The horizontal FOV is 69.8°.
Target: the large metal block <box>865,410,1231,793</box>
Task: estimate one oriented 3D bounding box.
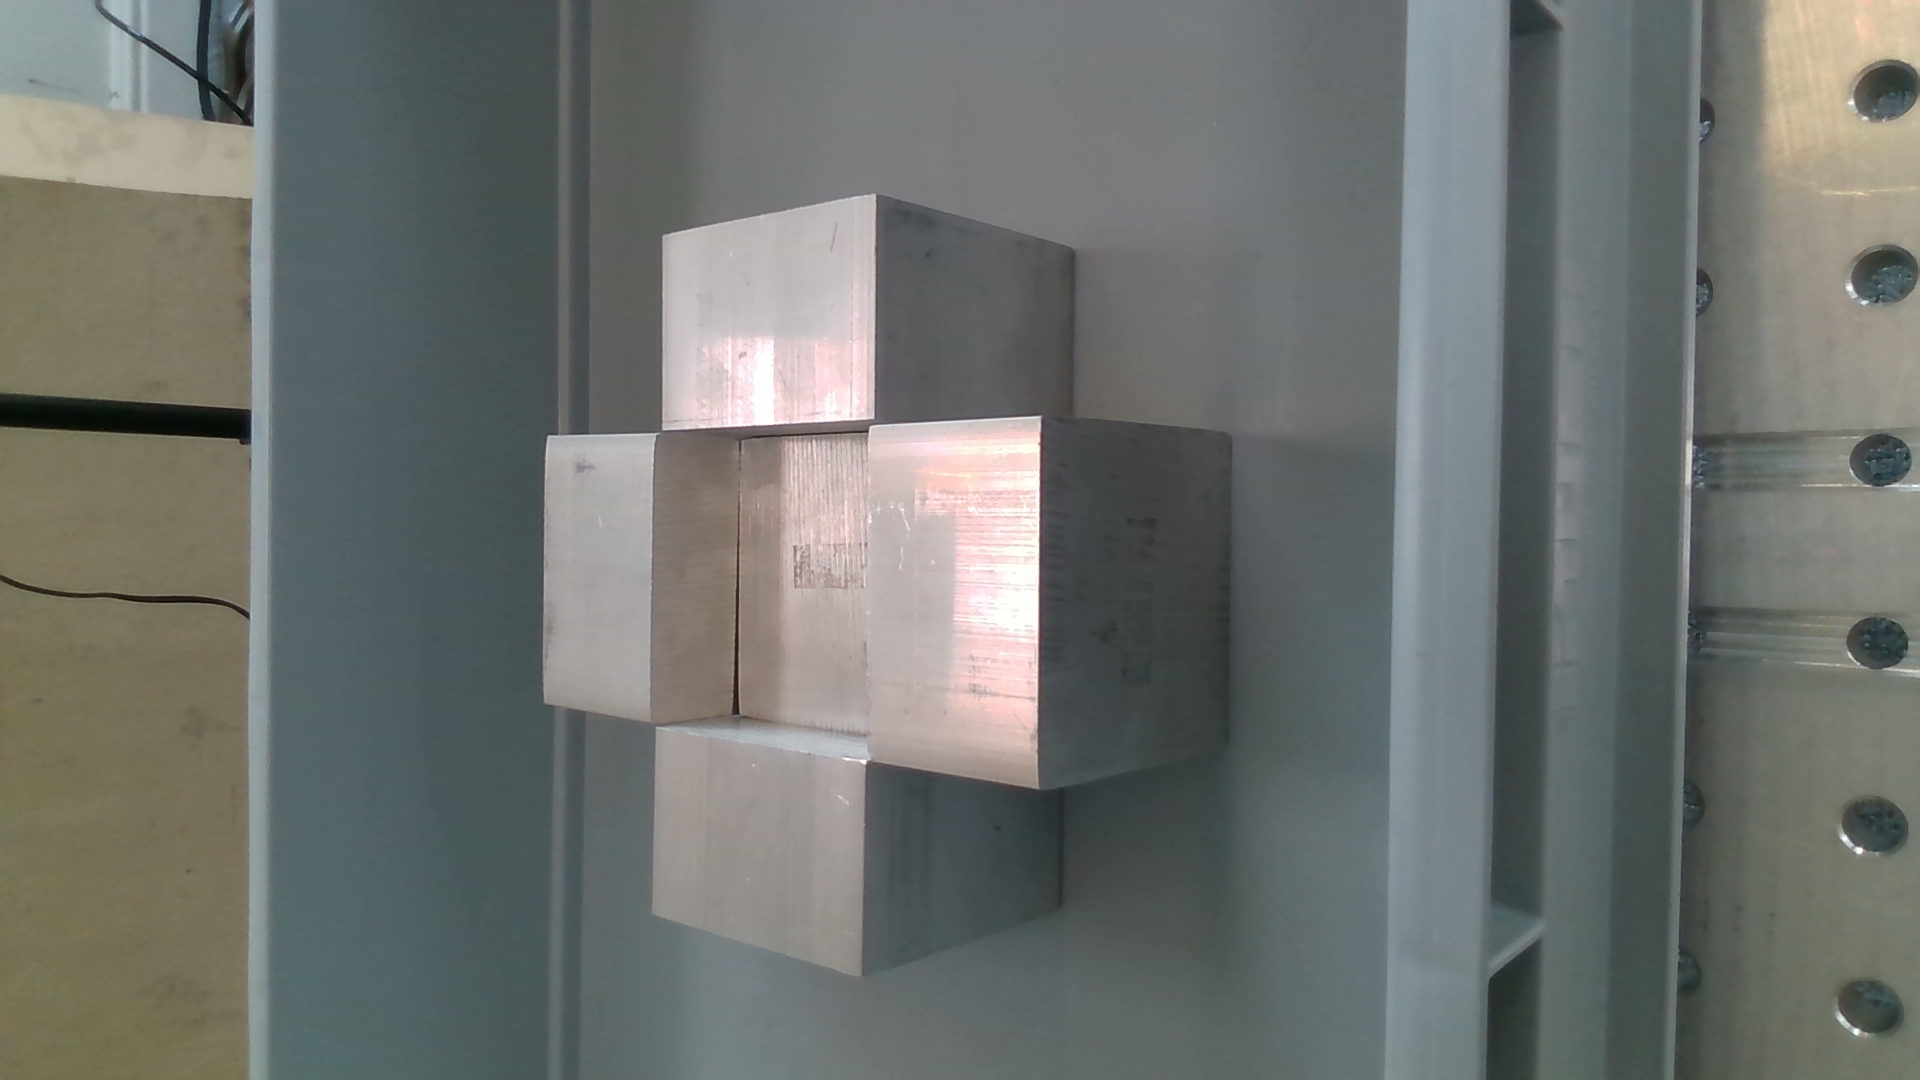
[{"bbox_3d":[0.023,0.013,0.334,0.050,0.080,0.080,1,91,40],"label":"large metal block"}]

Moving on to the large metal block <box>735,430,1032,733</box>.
[{"bbox_3d":[-0.018,0.011,0.387,0.080,0.050,0.080,1,91,40],"label":"large metal block"}]

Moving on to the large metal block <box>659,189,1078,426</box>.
[{"bbox_3d":[-0.024,-0.056,0.374,0.080,0.080,0.050,1,91,40],"label":"large metal block"}]

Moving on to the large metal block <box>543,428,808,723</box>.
[{"bbox_3d":[-0.077,0.009,0.418,0.050,0.080,0.080,3,92,40],"label":"large metal block"}]

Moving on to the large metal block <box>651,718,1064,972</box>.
[{"bbox_3d":[-0.027,0.076,0.378,0.080,0.080,0.050,1,91,40],"label":"large metal block"}]
